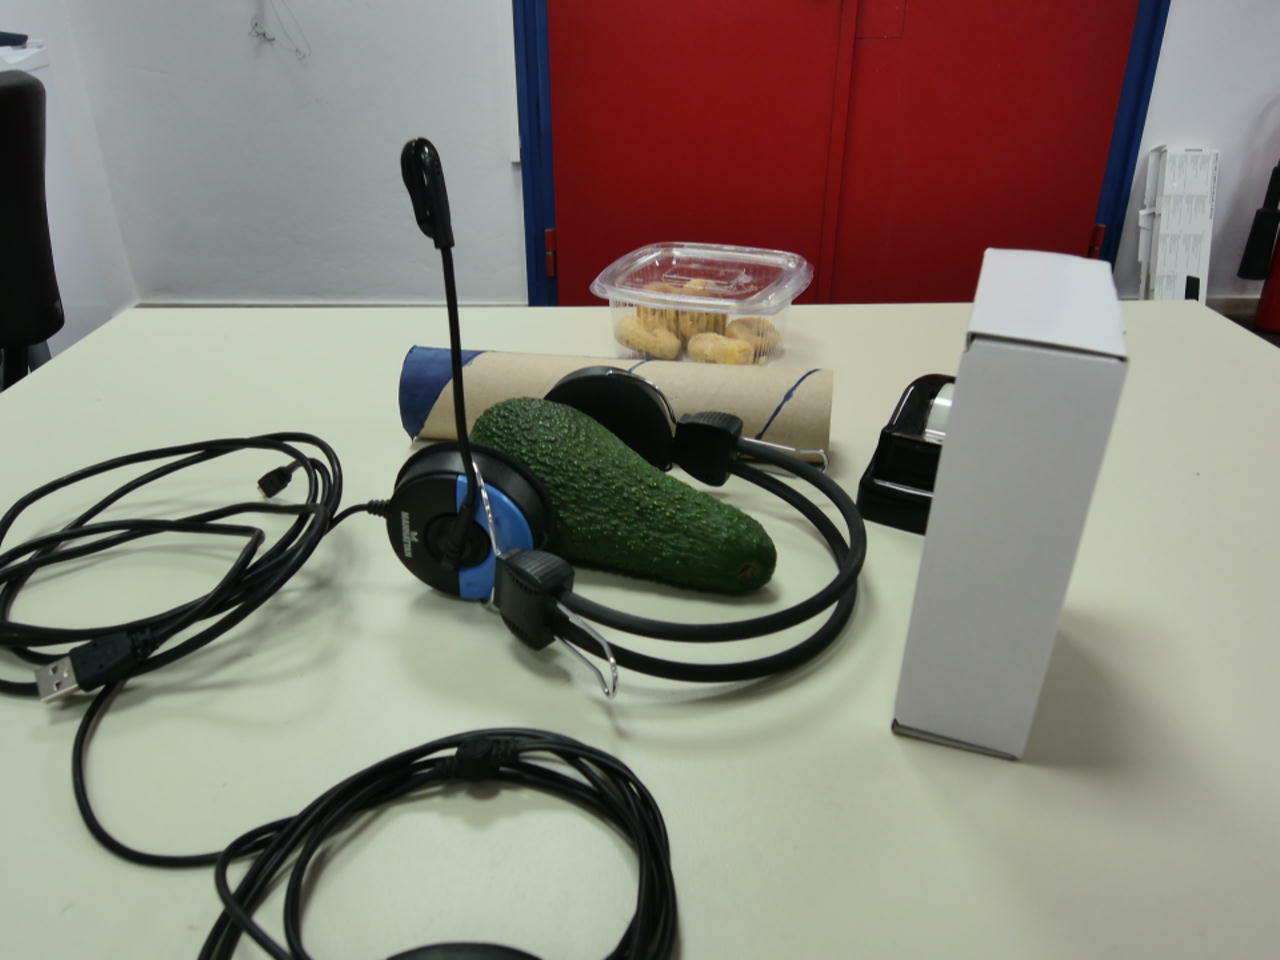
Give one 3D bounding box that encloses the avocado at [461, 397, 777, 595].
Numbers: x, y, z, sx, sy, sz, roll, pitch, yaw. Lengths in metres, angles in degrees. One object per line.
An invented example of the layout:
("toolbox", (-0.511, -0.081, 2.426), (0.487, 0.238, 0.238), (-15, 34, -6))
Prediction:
("avocado", (-0.009, 0.002, 0.418), (0.141, 0.067, 0.063), (6, 25, 14))
